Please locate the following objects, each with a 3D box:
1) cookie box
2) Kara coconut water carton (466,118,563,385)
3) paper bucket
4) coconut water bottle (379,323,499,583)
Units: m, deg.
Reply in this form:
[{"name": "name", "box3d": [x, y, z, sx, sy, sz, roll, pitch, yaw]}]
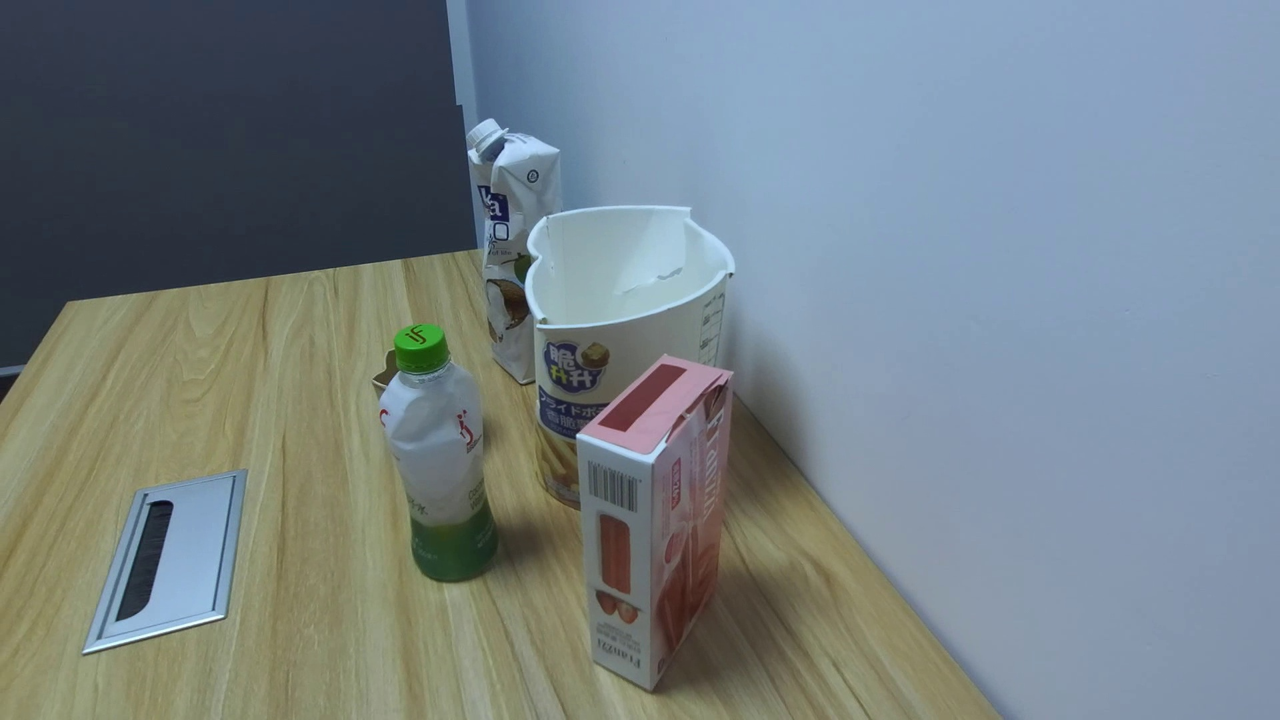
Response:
[{"name": "cookie box", "box3d": [0.014, 0.096, 0.430, 0.048, 0.188, 0.105, 17, 36, 25]}, {"name": "Kara coconut water carton", "box3d": [-0.111, -0.098, 0.670, 0.078, 0.256, 0.083, -13, 27, -20]}, {"name": "paper bucket", "box3d": [-0.014, 0.000, 0.567, 0.146, 0.197, 0.202, -4, 32, -9]}, {"name": "coconut water bottle", "box3d": [-0.136, 0.064, 0.478, 0.069, 0.186, 0.069, 0, 33, 1]}]
